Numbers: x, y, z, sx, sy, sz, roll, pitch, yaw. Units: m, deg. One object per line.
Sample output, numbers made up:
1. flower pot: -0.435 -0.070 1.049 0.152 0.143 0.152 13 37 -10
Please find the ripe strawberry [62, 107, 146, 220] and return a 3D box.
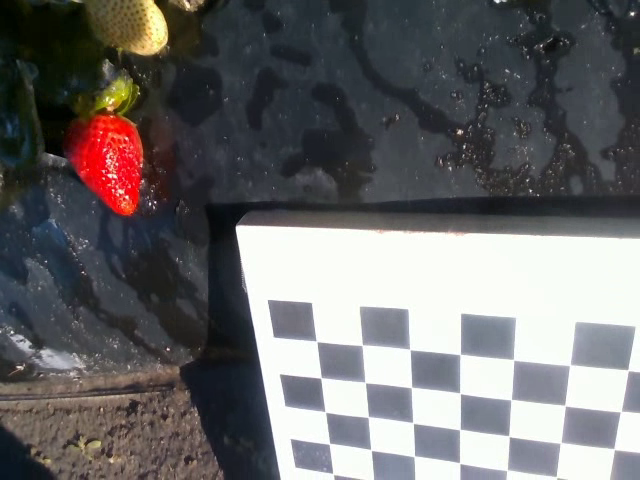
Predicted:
1. ripe strawberry: -0.108 -0.032 0.292 0.041 0.052 0.040 -15 15 22
